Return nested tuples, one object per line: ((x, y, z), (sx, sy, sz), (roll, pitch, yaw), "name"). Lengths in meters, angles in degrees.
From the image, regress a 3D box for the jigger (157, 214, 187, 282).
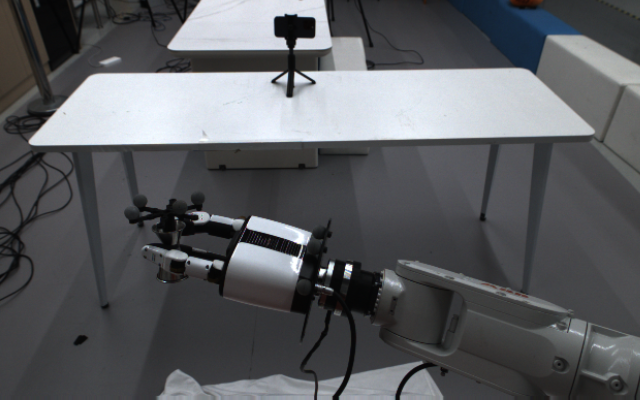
((-0.185, 0.064, 0.605), (0.043, 0.071, 0.043), (0, 22, 0), "jigger")
